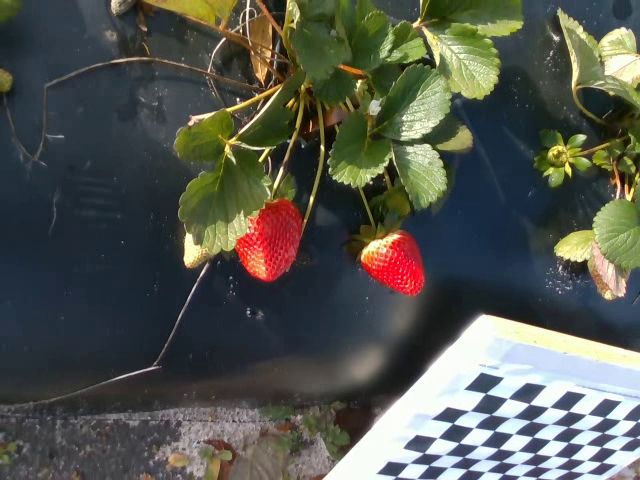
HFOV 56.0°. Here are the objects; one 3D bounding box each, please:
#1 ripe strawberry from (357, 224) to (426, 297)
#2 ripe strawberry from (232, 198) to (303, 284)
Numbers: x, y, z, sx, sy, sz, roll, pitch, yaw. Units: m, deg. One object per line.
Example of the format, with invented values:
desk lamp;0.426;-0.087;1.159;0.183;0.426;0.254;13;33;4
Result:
ripe strawberry;0.040;0.014;0.294;0.033;0.039;0.037;8;-36;-44
ripe strawberry;-0.022;0.001;0.265;0.035;0.036;0.041;6;-24;-11
